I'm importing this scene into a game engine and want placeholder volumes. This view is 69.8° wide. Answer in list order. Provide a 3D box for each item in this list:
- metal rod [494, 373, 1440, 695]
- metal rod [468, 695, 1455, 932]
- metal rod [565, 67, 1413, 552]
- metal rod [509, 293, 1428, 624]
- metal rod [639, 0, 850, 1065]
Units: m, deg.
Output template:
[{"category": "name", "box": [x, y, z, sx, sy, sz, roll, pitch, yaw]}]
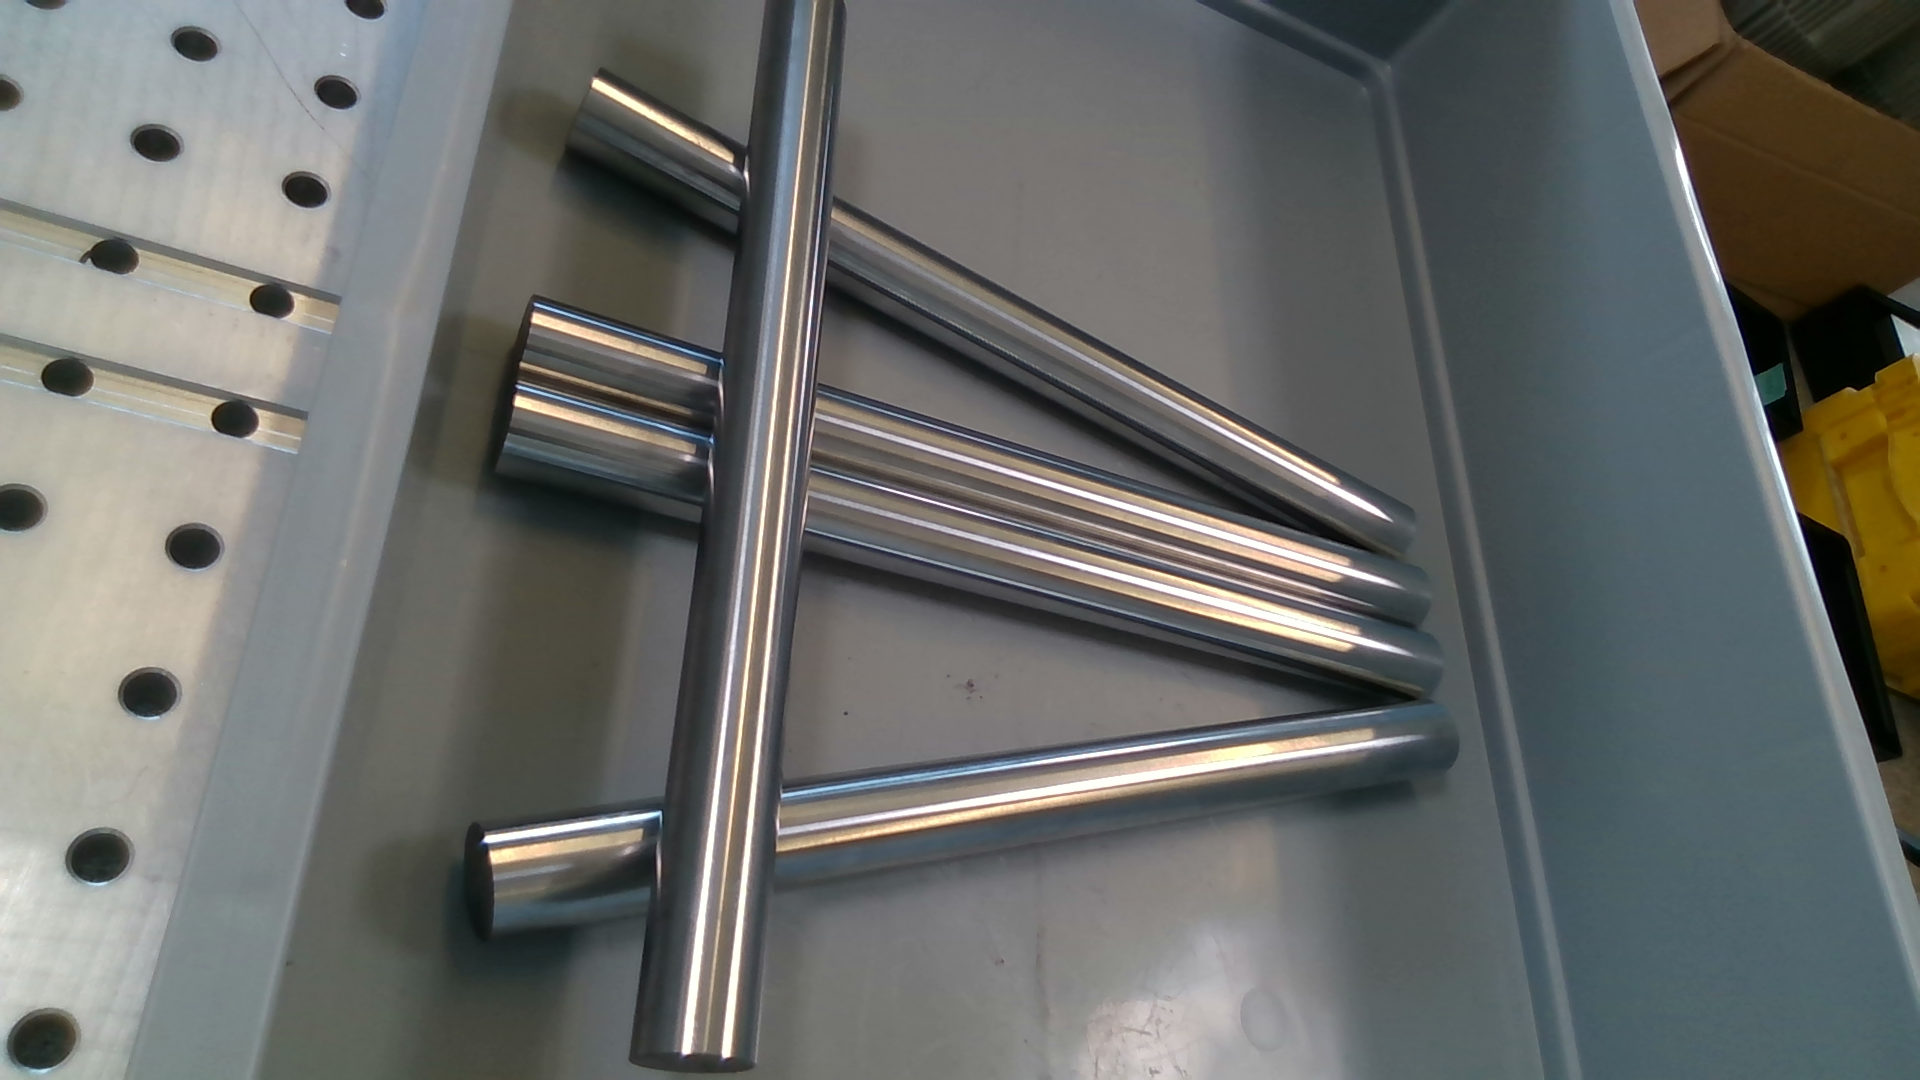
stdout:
[{"category": "metal rod", "box": [0.020, 0.006, 0.402, 0.300, 0.025, 0.025, 15, 58, -25]}, {"category": "metal rod", "box": [0.025, 0.067, 0.372, 0.300, 0.025, 0.025, -2, 66, -32]}, {"category": "metal rod", "box": [0.022, -0.063, 0.439, 0.300, 0.025, 0.025, 25, 55, -18]}, {"category": "metal rod", "box": [0.020, -0.015, 0.413, 0.300, 0.025, 0.025, 15, 58, -24]}, {"category": "metal rod", "box": [-0.048, -0.029, 0.344, 0.025, 0.025, 0.299, 15, 58, -24]}]
